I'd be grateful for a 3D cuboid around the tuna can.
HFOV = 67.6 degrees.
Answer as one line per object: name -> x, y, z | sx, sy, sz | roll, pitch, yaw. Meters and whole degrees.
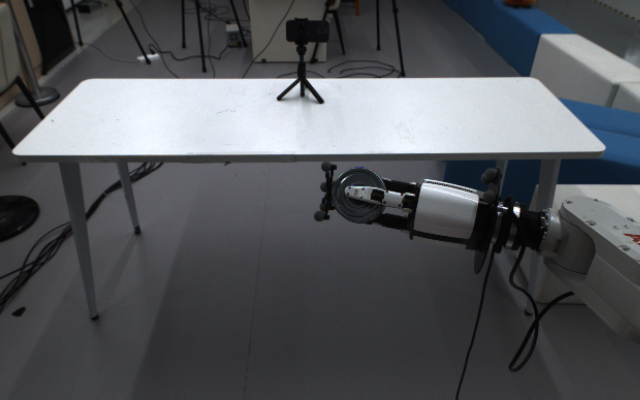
tuna can -> 0.065, -0.005, 0.746 | 0.085, 0.085, 0.034 | 9, -6, 10
